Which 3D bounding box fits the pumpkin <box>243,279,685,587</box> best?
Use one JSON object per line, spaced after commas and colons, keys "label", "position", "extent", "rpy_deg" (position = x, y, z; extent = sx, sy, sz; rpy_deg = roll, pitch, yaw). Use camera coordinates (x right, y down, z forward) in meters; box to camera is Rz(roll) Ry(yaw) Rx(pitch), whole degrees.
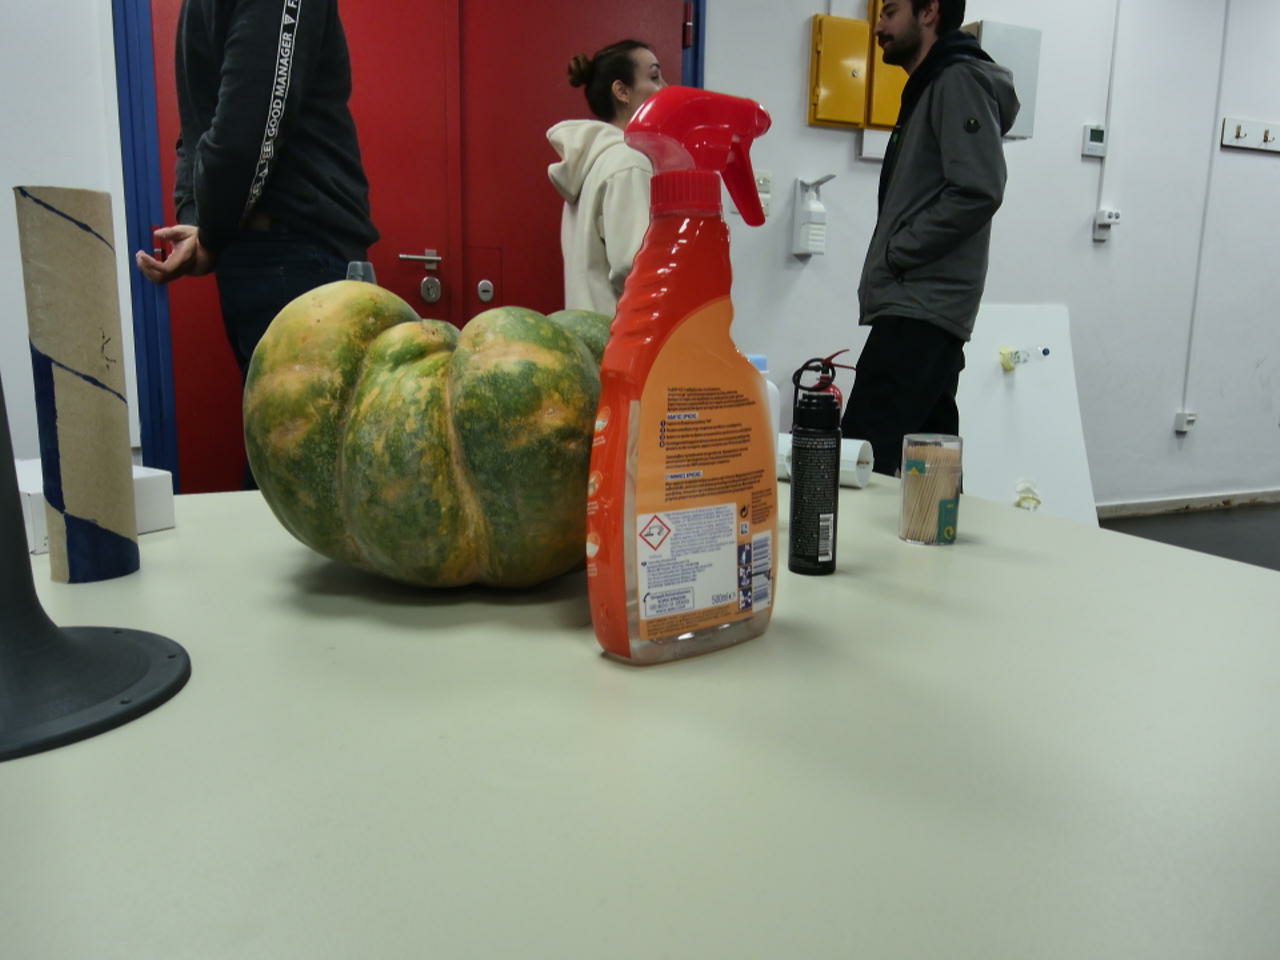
{"label": "pumpkin", "position": [-0.105, -0.028, 0.603], "extent": [0.270, 0.173, 0.237], "rpy_deg": [2, 8, 13]}
